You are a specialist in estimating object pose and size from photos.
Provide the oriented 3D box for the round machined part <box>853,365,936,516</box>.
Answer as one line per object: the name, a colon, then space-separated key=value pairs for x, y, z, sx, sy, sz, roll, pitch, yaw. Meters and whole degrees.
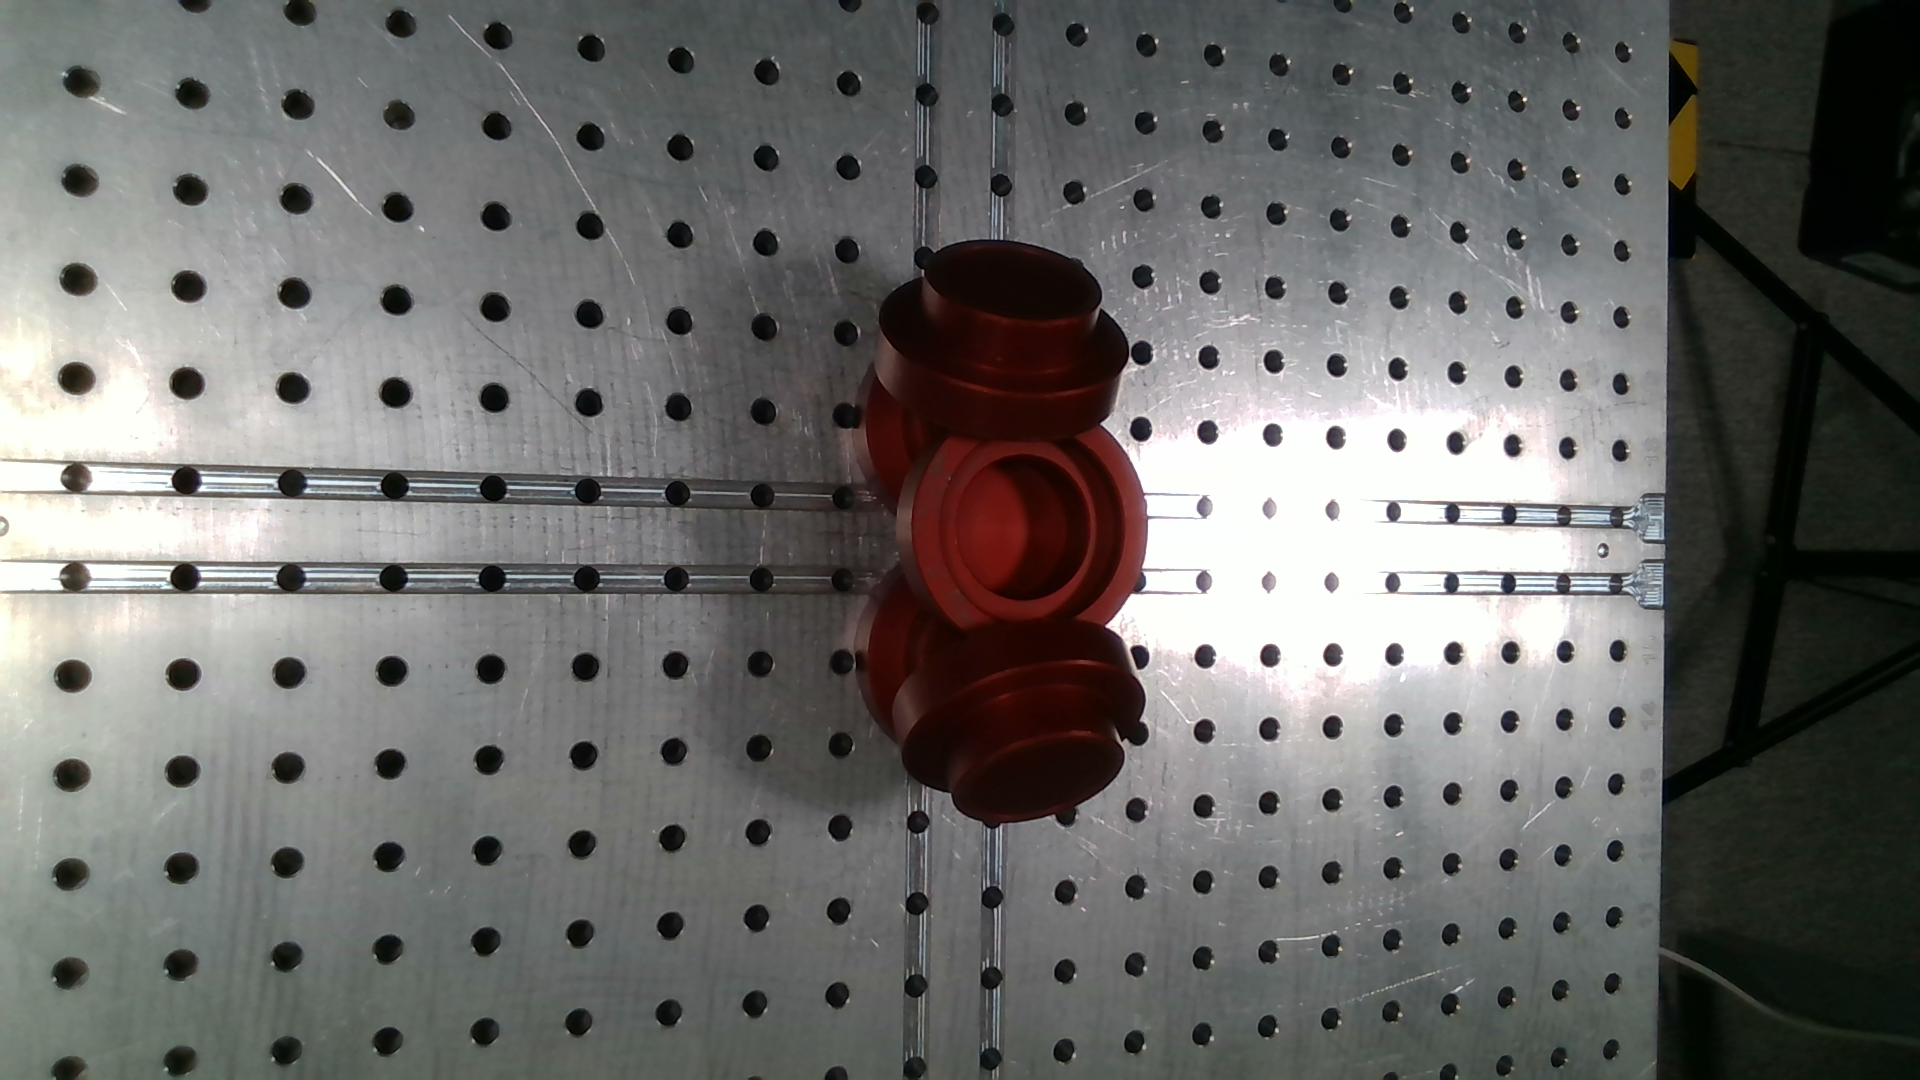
round machined part: x=0.007 y=-0.049 z=0.581 sx=0.098 sy=0.042 sz=0.098 roll=0 pitch=90 yaw=-20

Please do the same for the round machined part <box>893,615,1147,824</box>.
round machined part: x=0.026 y=0.075 z=0.535 sx=0.098 sy=0.098 sz=0.042 roll=0 pitch=50 yaw=-20

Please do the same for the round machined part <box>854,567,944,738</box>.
round machined part: x=0.008 y=0.049 z=0.582 sx=0.098 sy=0.042 sz=0.098 roll=0 pitch=90 yaw=-20

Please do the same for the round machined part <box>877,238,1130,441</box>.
round machined part: x=0.018 y=-0.082 z=0.531 sx=0.098 sy=0.098 sz=0.042 roll=-6 pitch=129 yaw=-20

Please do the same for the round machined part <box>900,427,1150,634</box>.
round machined part: x=0.022 y=-0.005 z=0.541 sx=0.098 sy=0.042 sz=0.098 roll=0 pitch=90 yaw=-20
